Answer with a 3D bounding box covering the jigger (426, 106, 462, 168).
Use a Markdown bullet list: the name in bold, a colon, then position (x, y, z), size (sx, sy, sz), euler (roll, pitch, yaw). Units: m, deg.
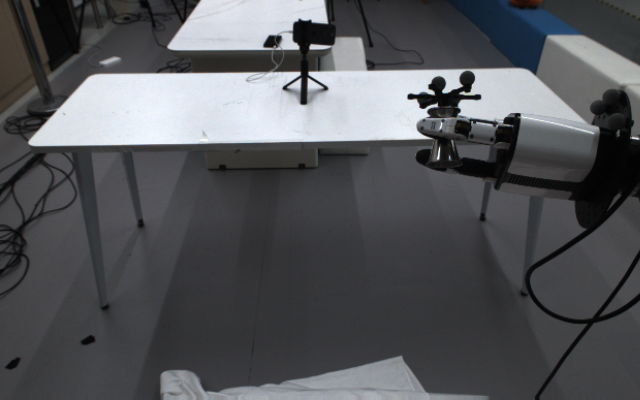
- **jigger**: position (0.151, -0.078, 0.597), size (0.043, 0.071, 0.043), euler (2, -6, 0)
